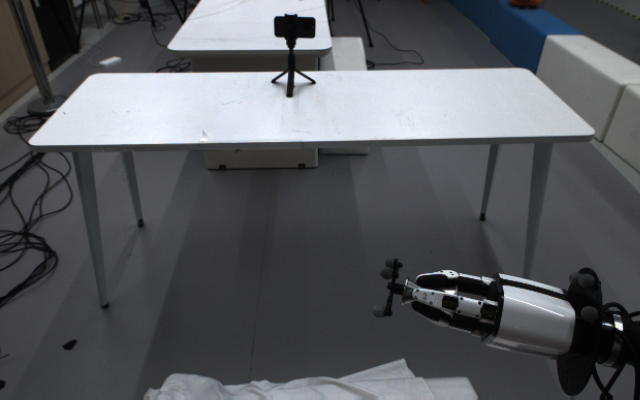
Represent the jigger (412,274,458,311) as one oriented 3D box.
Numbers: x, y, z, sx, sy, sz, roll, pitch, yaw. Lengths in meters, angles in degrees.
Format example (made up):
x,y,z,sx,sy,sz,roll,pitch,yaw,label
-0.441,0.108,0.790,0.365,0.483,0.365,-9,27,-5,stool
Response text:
x,y,z,sx,sy,sz,roll,pitch,yaw,label
0.154,0.126,0.655,0.071,0.043,0.043,10,35,16,jigger
